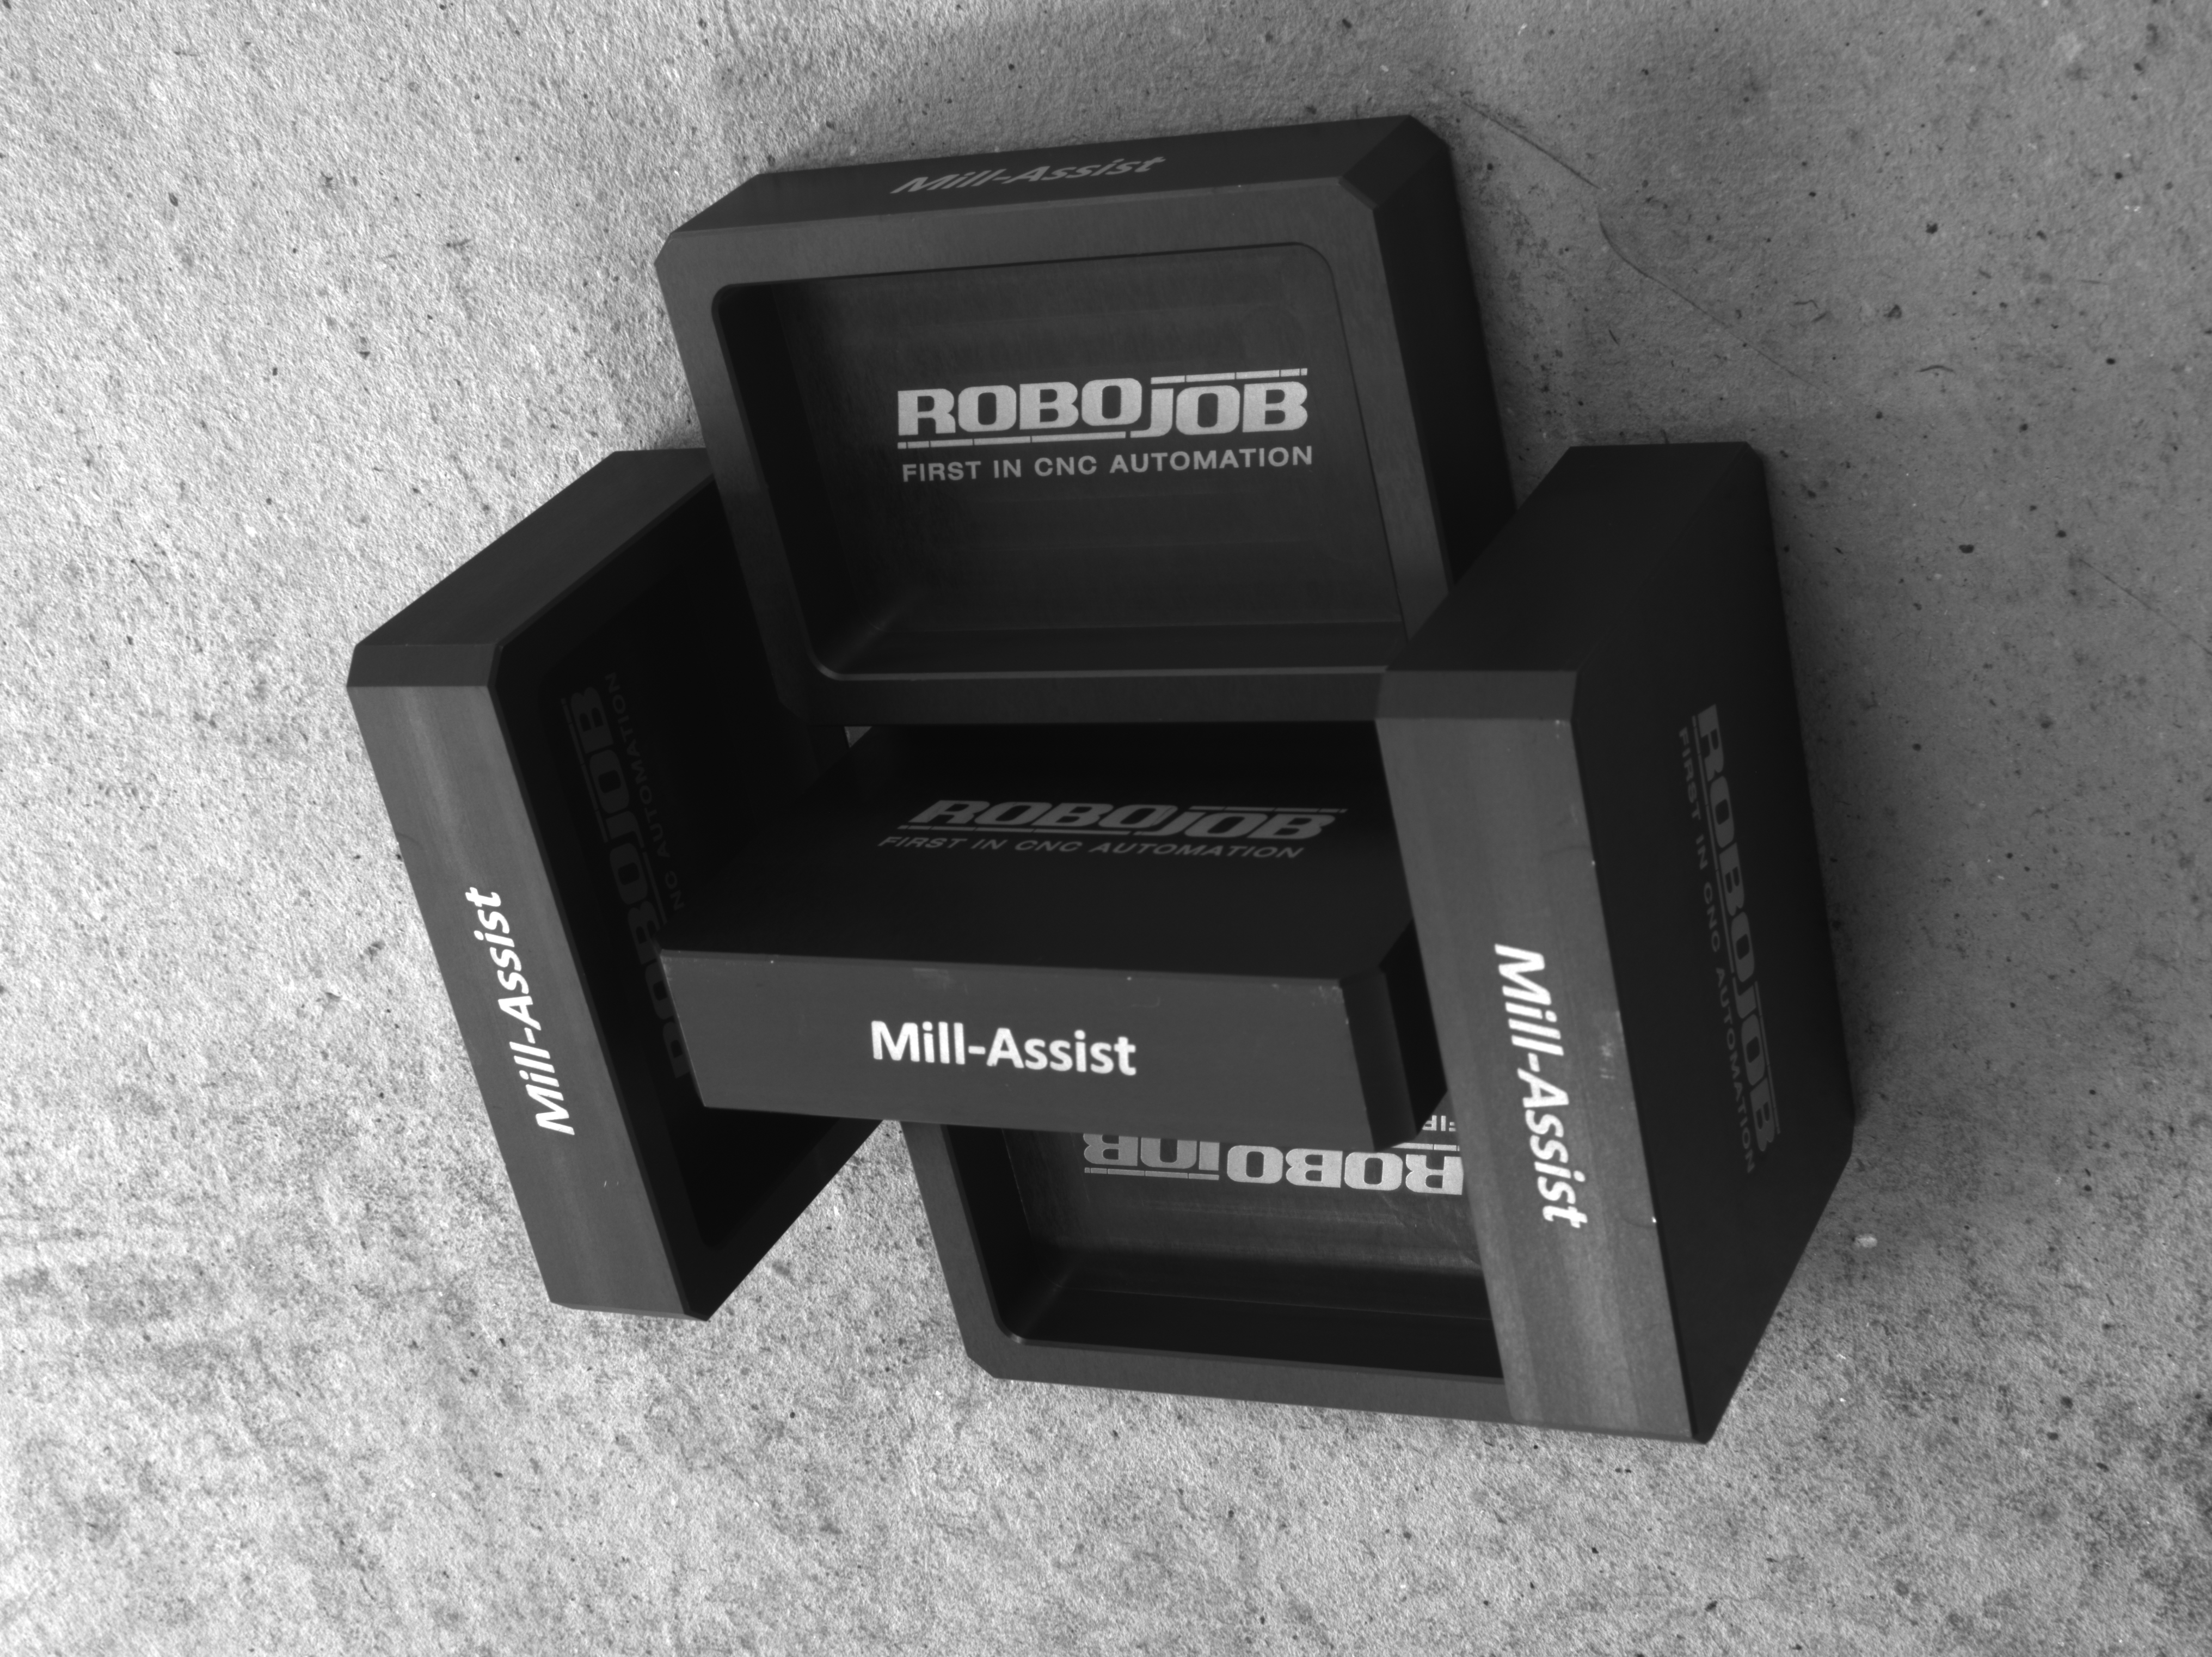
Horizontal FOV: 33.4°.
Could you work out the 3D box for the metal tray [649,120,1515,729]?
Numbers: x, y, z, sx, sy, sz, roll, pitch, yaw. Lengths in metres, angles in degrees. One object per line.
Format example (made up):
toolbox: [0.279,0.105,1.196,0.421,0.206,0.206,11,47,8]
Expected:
metal tray: [-0.002,-0.063,0.602,0.130,0.030,0.090,0,121,28]

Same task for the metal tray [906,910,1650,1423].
metal tray: [0.029,0.058,0.661,0.130,0.030,0.090,0,117,28]

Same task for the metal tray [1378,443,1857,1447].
metal tray: [0.082,0.017,0.567,0.030,0.090,0.130,1,119,28]

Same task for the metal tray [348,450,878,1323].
metal tray: [-0.078,0.009,0.648,0.030,0.090,0.130,1,119,28]

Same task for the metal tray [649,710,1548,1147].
metal tray: [0.002,0.012,0.608,0.130,0.090,0.030,1,120,28]
